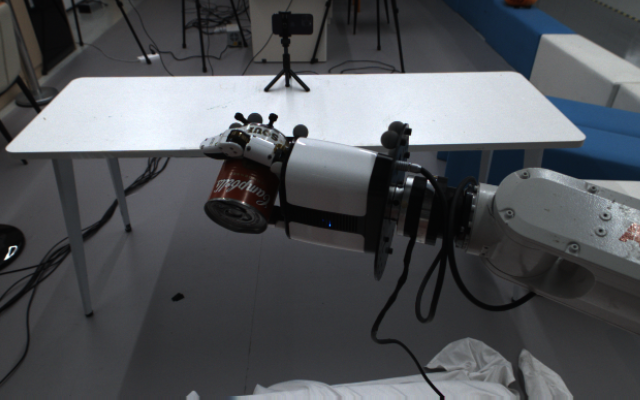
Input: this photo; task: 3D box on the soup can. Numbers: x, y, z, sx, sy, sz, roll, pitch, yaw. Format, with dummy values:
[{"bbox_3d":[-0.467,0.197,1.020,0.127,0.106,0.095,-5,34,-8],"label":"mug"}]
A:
[{"bbox_3d":[-0.073,-0.023,0.517,0.067,0.067,0.101,9,58,10],"label":"soup can"}]
